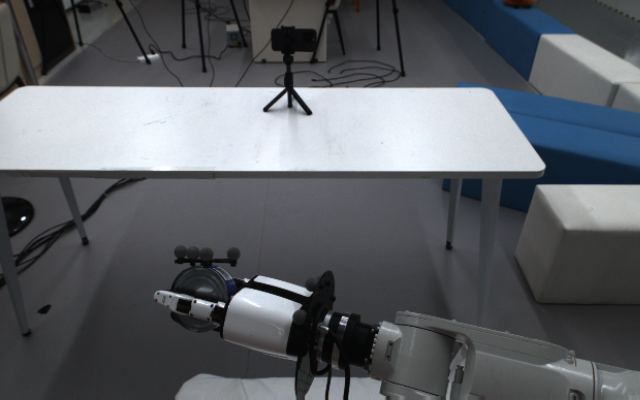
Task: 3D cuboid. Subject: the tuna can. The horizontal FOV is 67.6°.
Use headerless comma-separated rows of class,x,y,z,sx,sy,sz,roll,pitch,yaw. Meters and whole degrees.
tuna can,-0.150,0.129,0.637,0.085,0.085,0.034,15,1,18
